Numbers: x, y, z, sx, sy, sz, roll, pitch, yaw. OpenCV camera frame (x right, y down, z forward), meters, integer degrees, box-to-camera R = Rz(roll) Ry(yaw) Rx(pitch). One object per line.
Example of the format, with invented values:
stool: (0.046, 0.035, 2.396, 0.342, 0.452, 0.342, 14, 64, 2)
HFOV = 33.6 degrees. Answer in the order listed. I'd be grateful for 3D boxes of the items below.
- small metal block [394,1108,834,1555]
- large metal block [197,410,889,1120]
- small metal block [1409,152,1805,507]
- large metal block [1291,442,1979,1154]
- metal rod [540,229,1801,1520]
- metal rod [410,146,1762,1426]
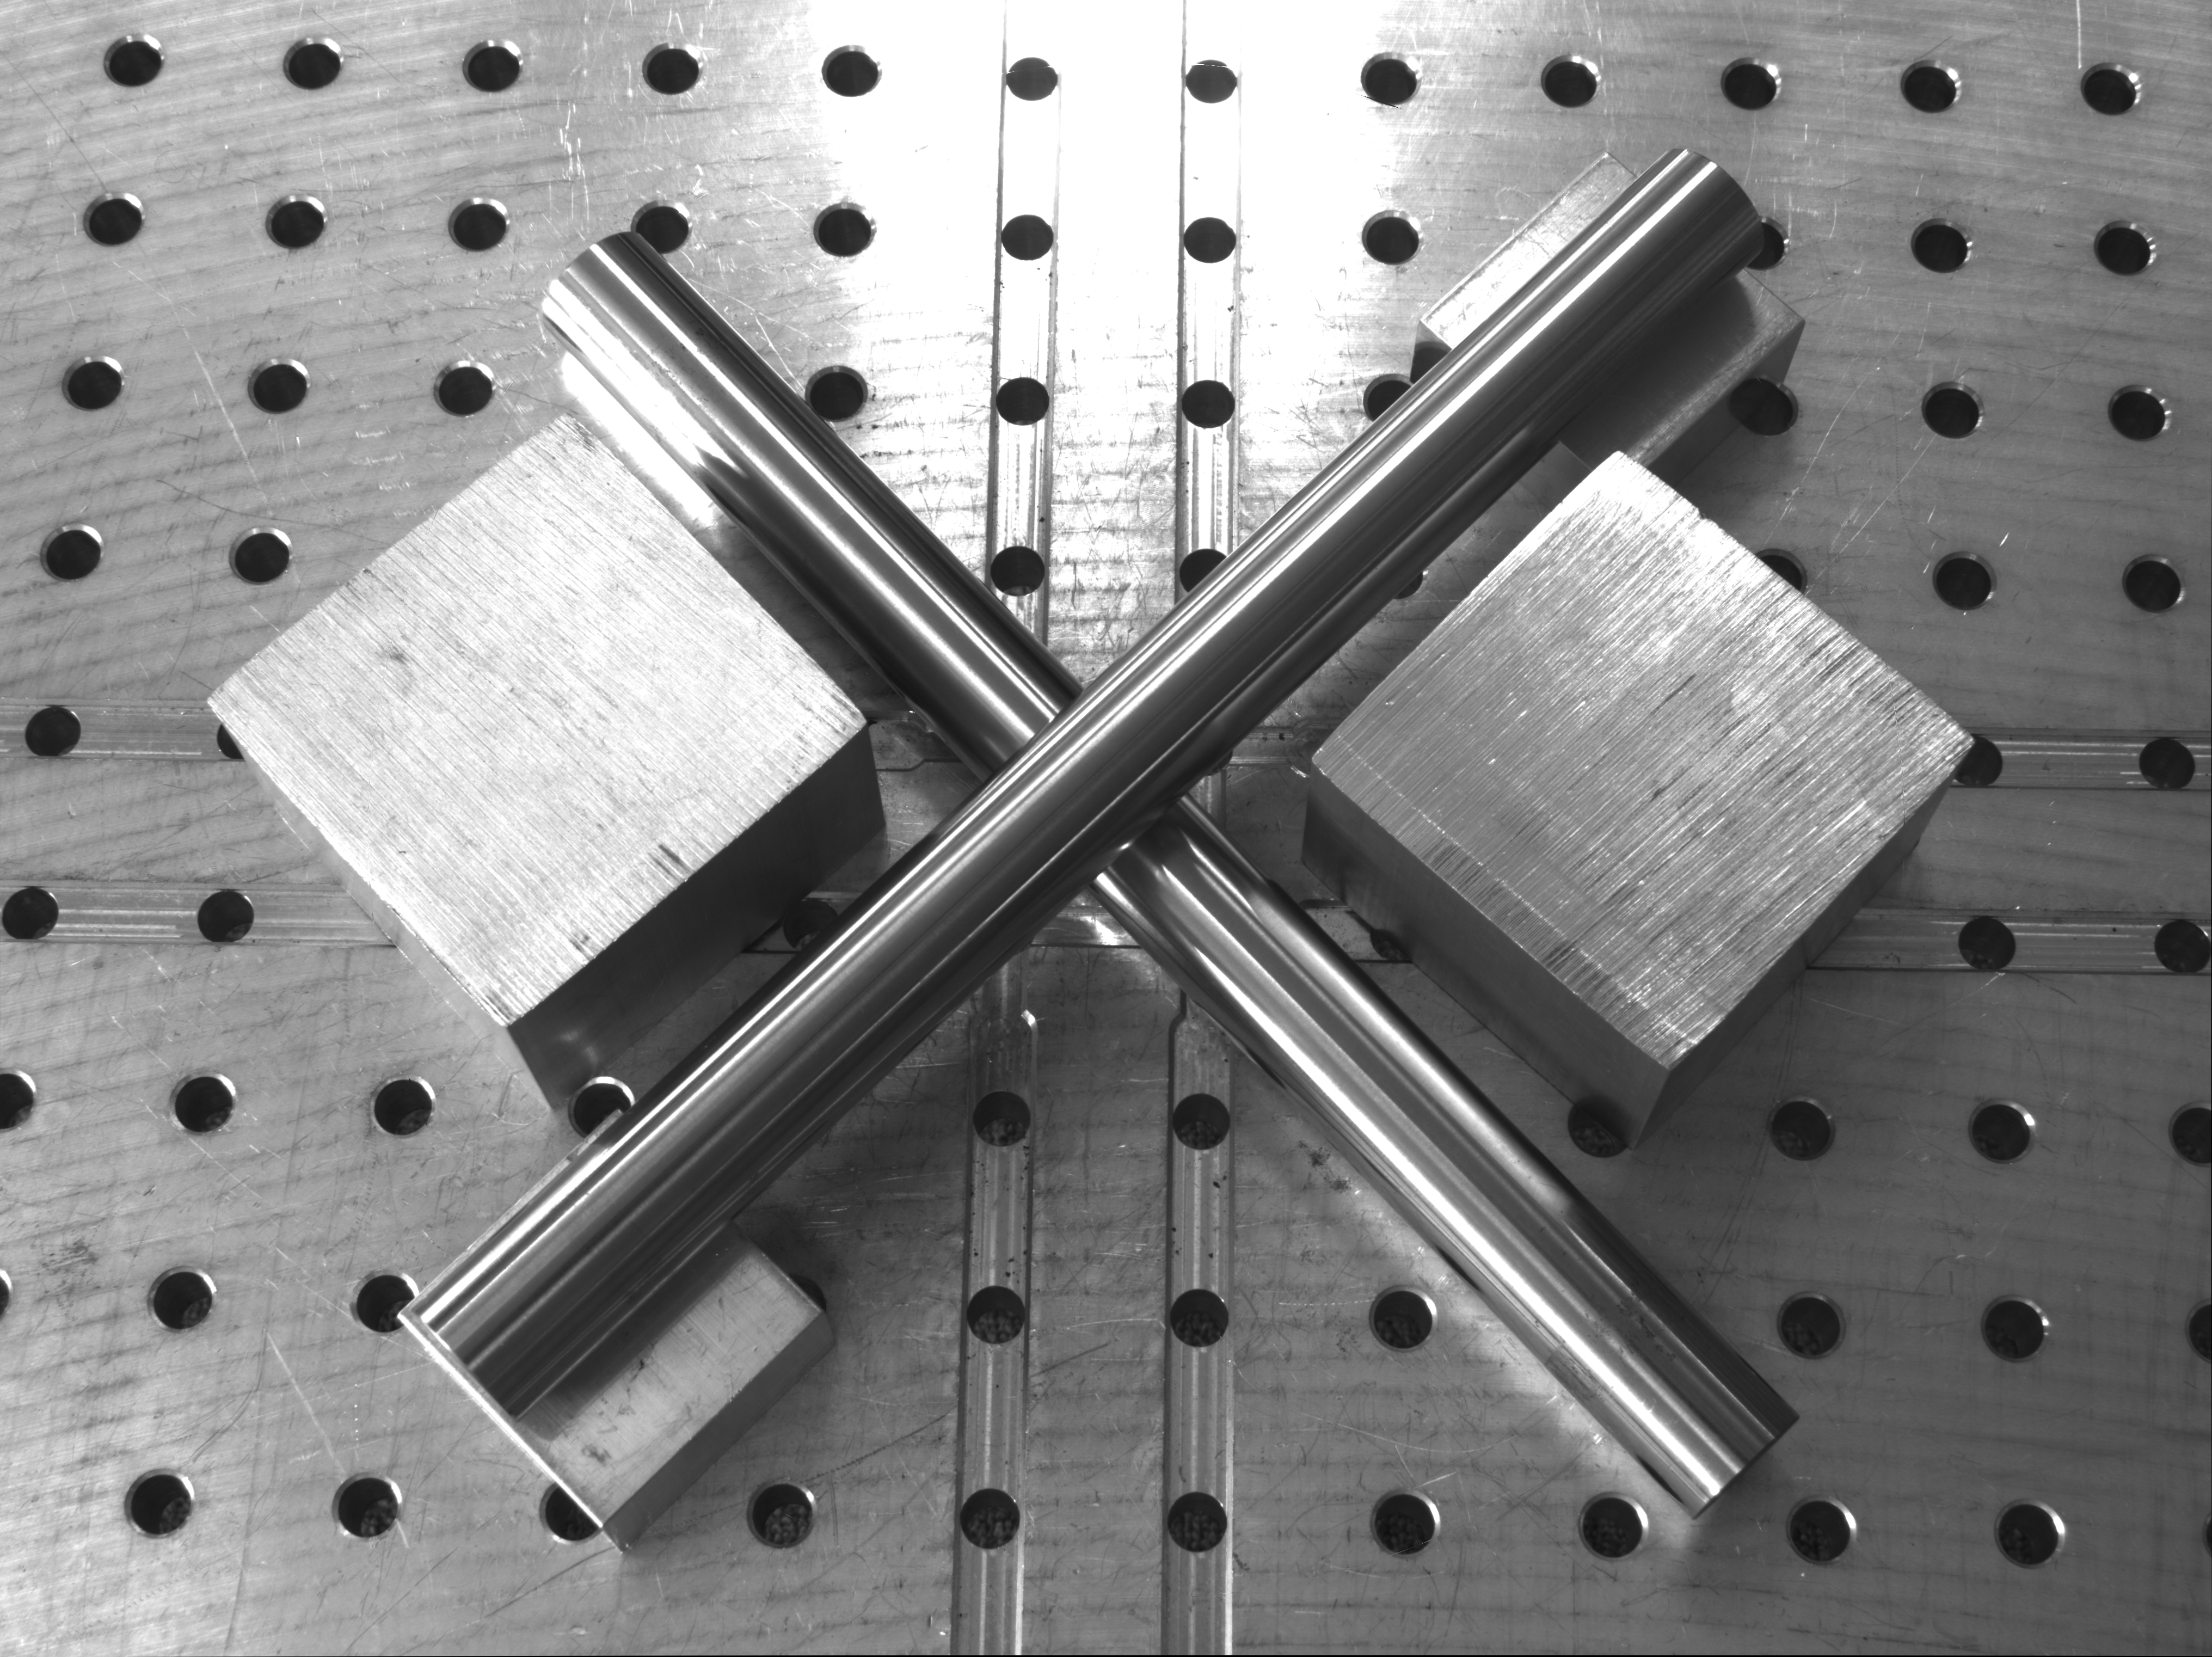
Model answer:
small metal block: (-0.082, 0.085, 0.616, 0.050, 0.025, 0.050, 43, 75, 14)
large metal block: (-0.096, -0.011, 0.638, 0.080, 0.050, 0.080, -41, 75, -14)
small metal block: (0.092, -0.088, 0.680, 0.050, 0.025, 0.050, -42, 75, -14)
large metal block: (0.090, -0.005, 0.636, 0.080, 0.050, 0.080, 41, 75, 14)
metal rod: (0.005, 0.002, 0.646, 0.025, 0.025, 0.300, -41, 75, -13)
metal rod: (0.003, -0.013, 0.625, 0.025, 0.025, 0.300, 43, 75, 14)
